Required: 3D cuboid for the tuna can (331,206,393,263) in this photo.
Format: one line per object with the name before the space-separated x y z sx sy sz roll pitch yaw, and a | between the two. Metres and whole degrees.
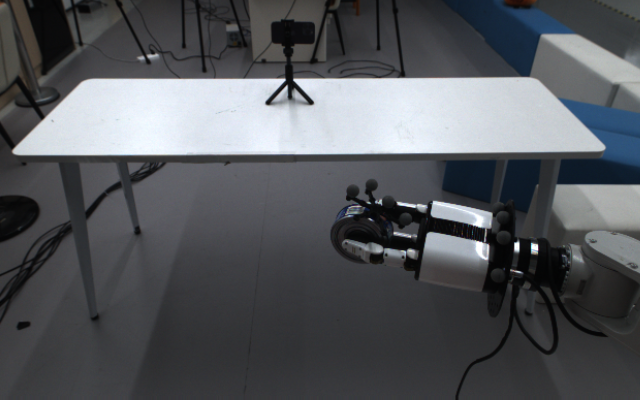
tuna can | 0.062 0.055 0.681 0.085 0.085 0.034 12 35 14
